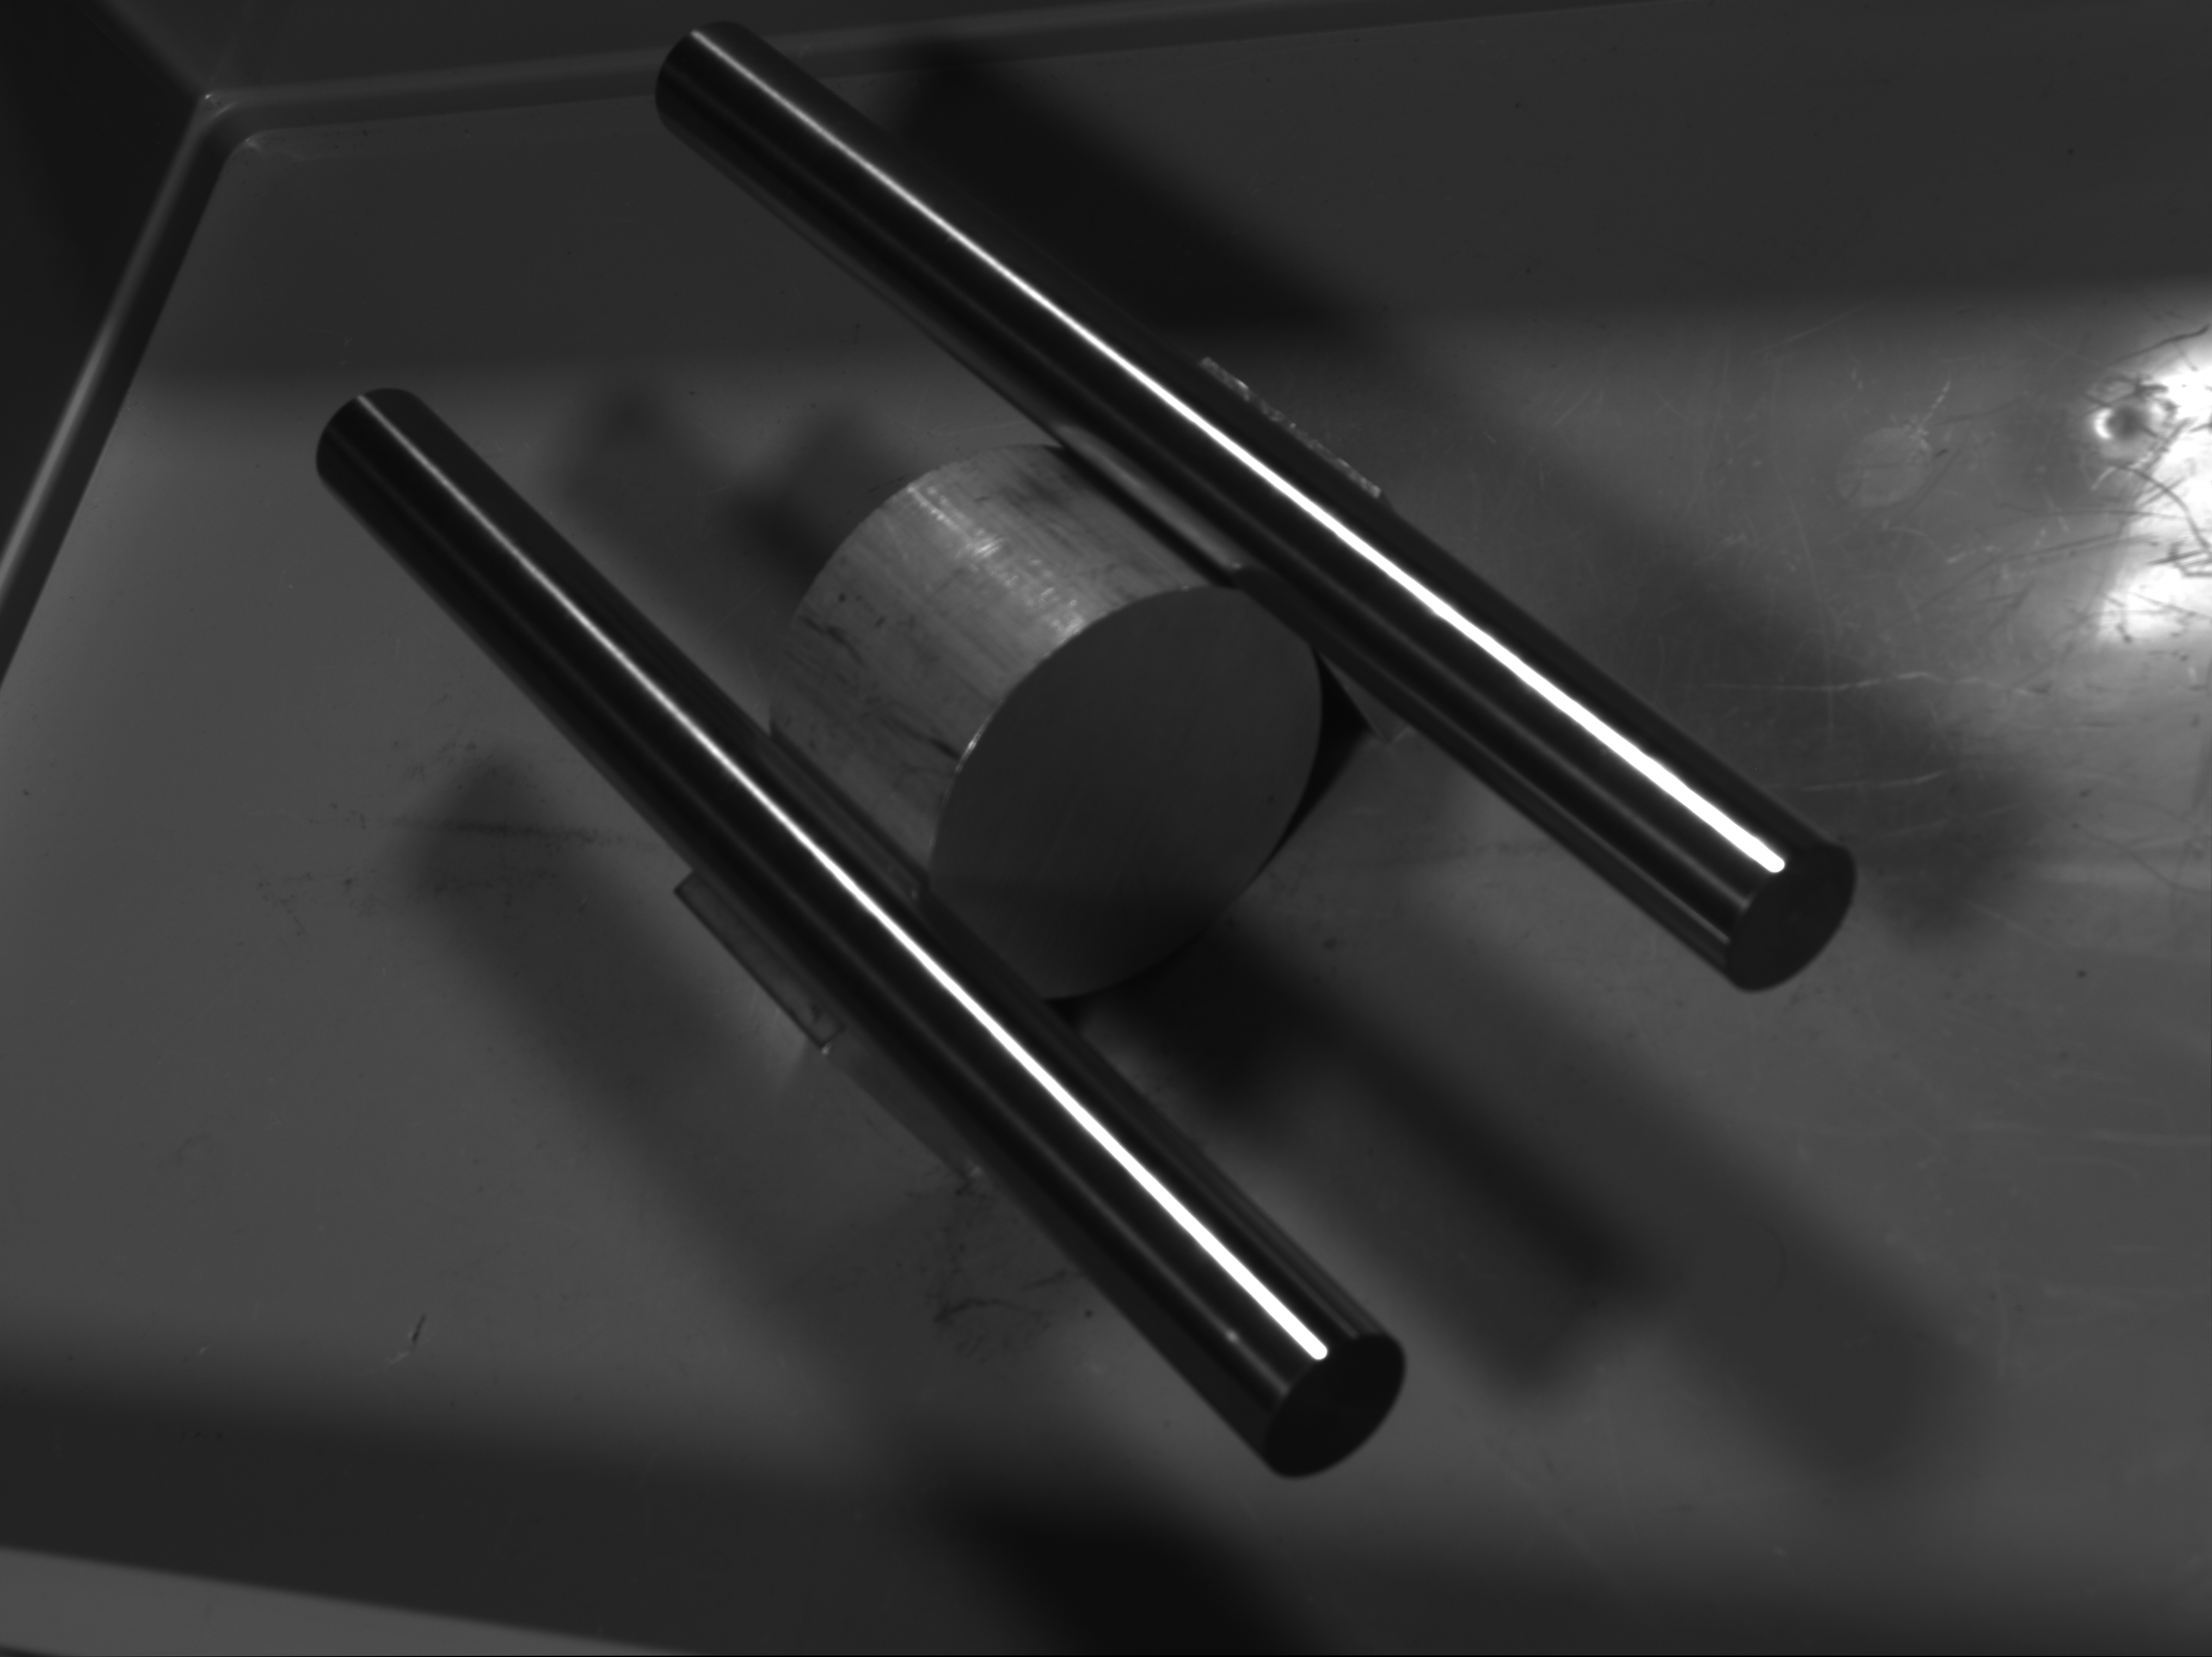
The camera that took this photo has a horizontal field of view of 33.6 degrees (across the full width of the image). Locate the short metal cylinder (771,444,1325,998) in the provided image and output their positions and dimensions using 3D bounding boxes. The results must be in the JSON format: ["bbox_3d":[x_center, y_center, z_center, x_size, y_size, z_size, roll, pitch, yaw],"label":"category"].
[{"bbox_3d":[-0.010,-0.018,0.624,0.080,0.080,0.050,-45,51,-3],"label":"short metal cylinder"}]

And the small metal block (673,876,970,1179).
[{"bbox_3d":[-0.041,0.027,0.632,0.025,0.050,0.050,-45,51,-3],"label":"small metal block"}]

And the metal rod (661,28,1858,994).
[{"bbox_3d":[0.011,-0.065,0.613,0.025,0.025,0.299,-45,51,-3],"label":"metal rod"}]

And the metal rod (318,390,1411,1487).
[{"bbox_3d":[-0.053,0.005,0.606,0.025,0.025,0.299,-45,50,-3],"label":"metal rod"}]

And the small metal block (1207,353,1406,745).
[{"bbox_3d":[0.034,-0.049,0.638,0.025,0.050,0.050,-45,51,-3],"label":"small metal block"}]
